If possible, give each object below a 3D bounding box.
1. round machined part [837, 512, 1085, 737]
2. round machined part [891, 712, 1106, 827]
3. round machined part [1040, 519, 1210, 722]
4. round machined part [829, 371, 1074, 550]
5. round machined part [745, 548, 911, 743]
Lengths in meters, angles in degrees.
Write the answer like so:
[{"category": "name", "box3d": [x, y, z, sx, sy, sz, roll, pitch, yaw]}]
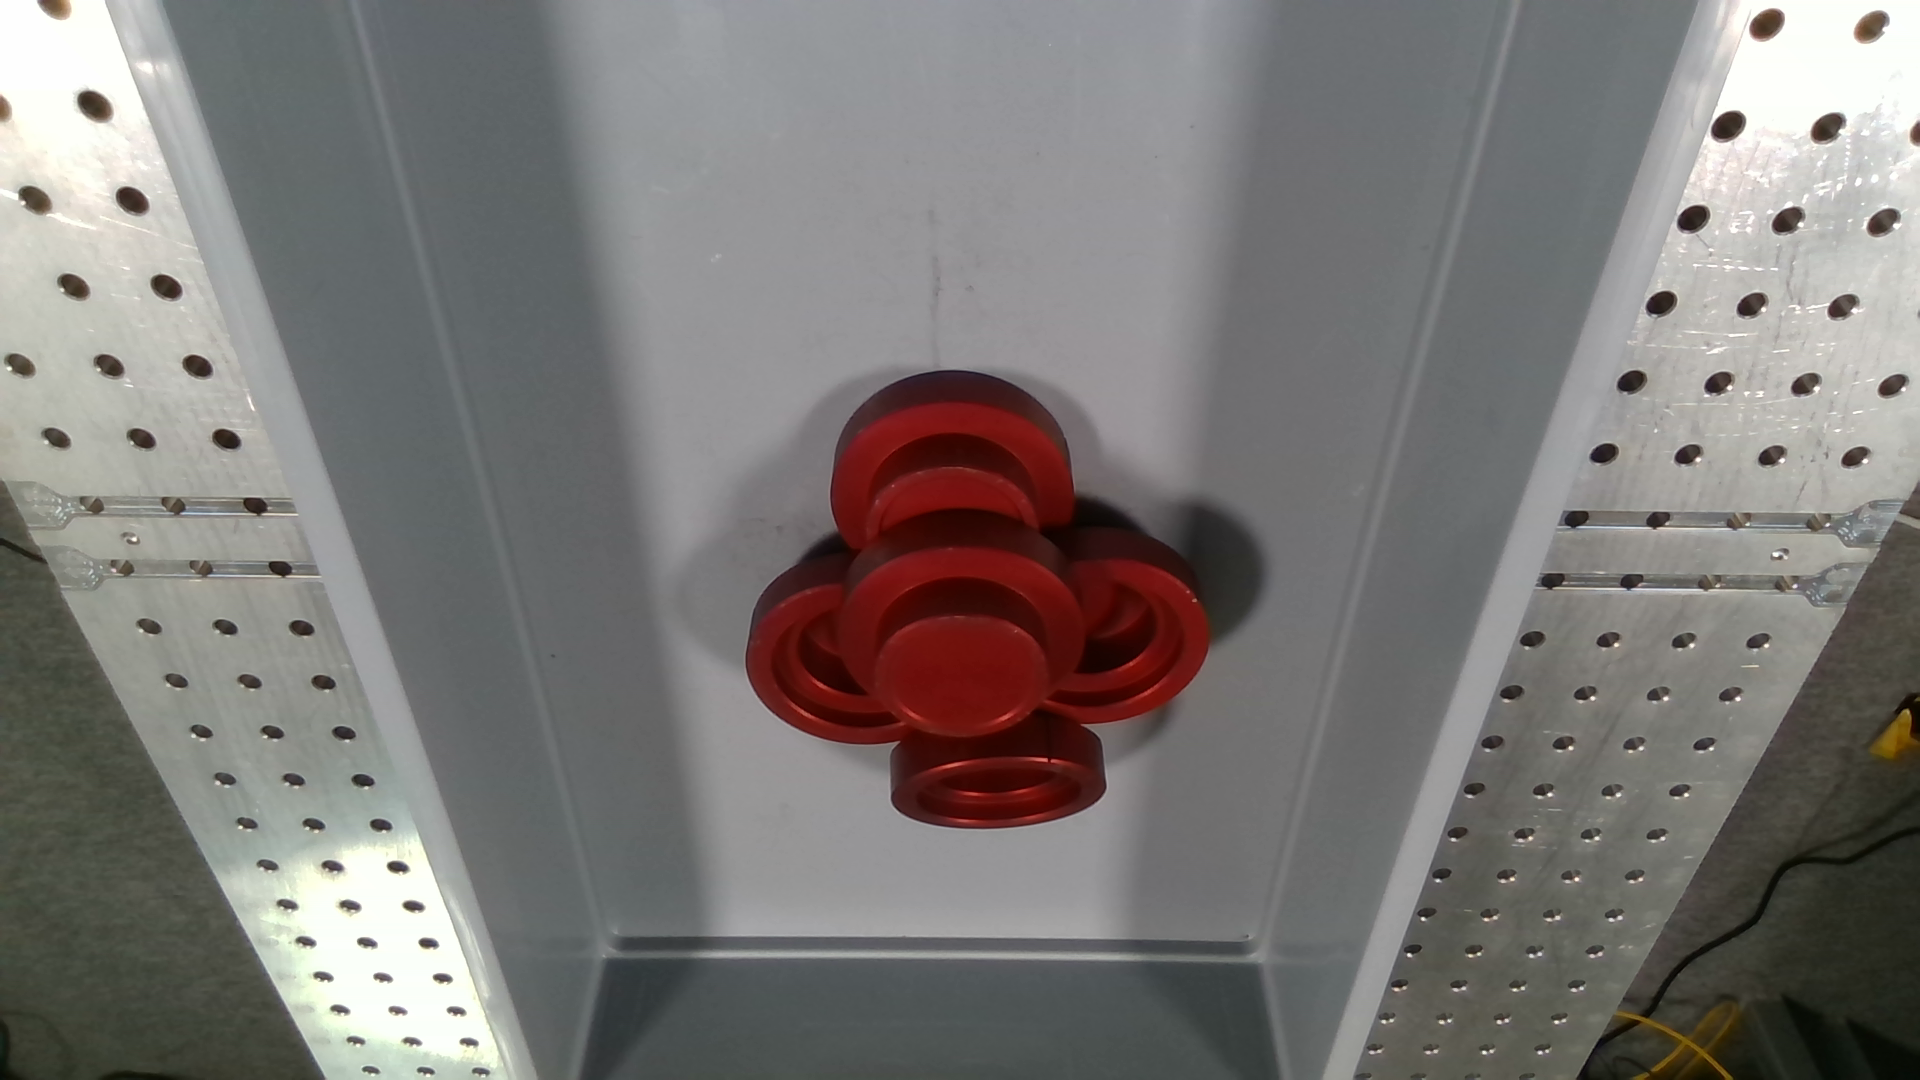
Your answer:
[{"category": "round machined part", "box3d": [0.000, 0.040, 0.543, 0.098, 0.042, 0.098, 0, 130, 0]}, {"category": "round machined part", "box3d": [0.016, 0.097, 0.634, 0.098, 0.042, 0.098, -2, 150, -1]}, {"category": "round machined part", "box3d": [0.056, 0.030, 0.592, 0.098, 0.042, 0.098, 0, 130, 0]}, {"category": "round machined part", "box3d": [-0.004, -0.015, 0.551, 0.098, 0.042, 0.098, 0, 130, 0]}, {"category": "round machined part", "box3d": [-0.042, 0.040, 0.600, 0.098, 0.042, 0.098, 0, 130, 0]}]
